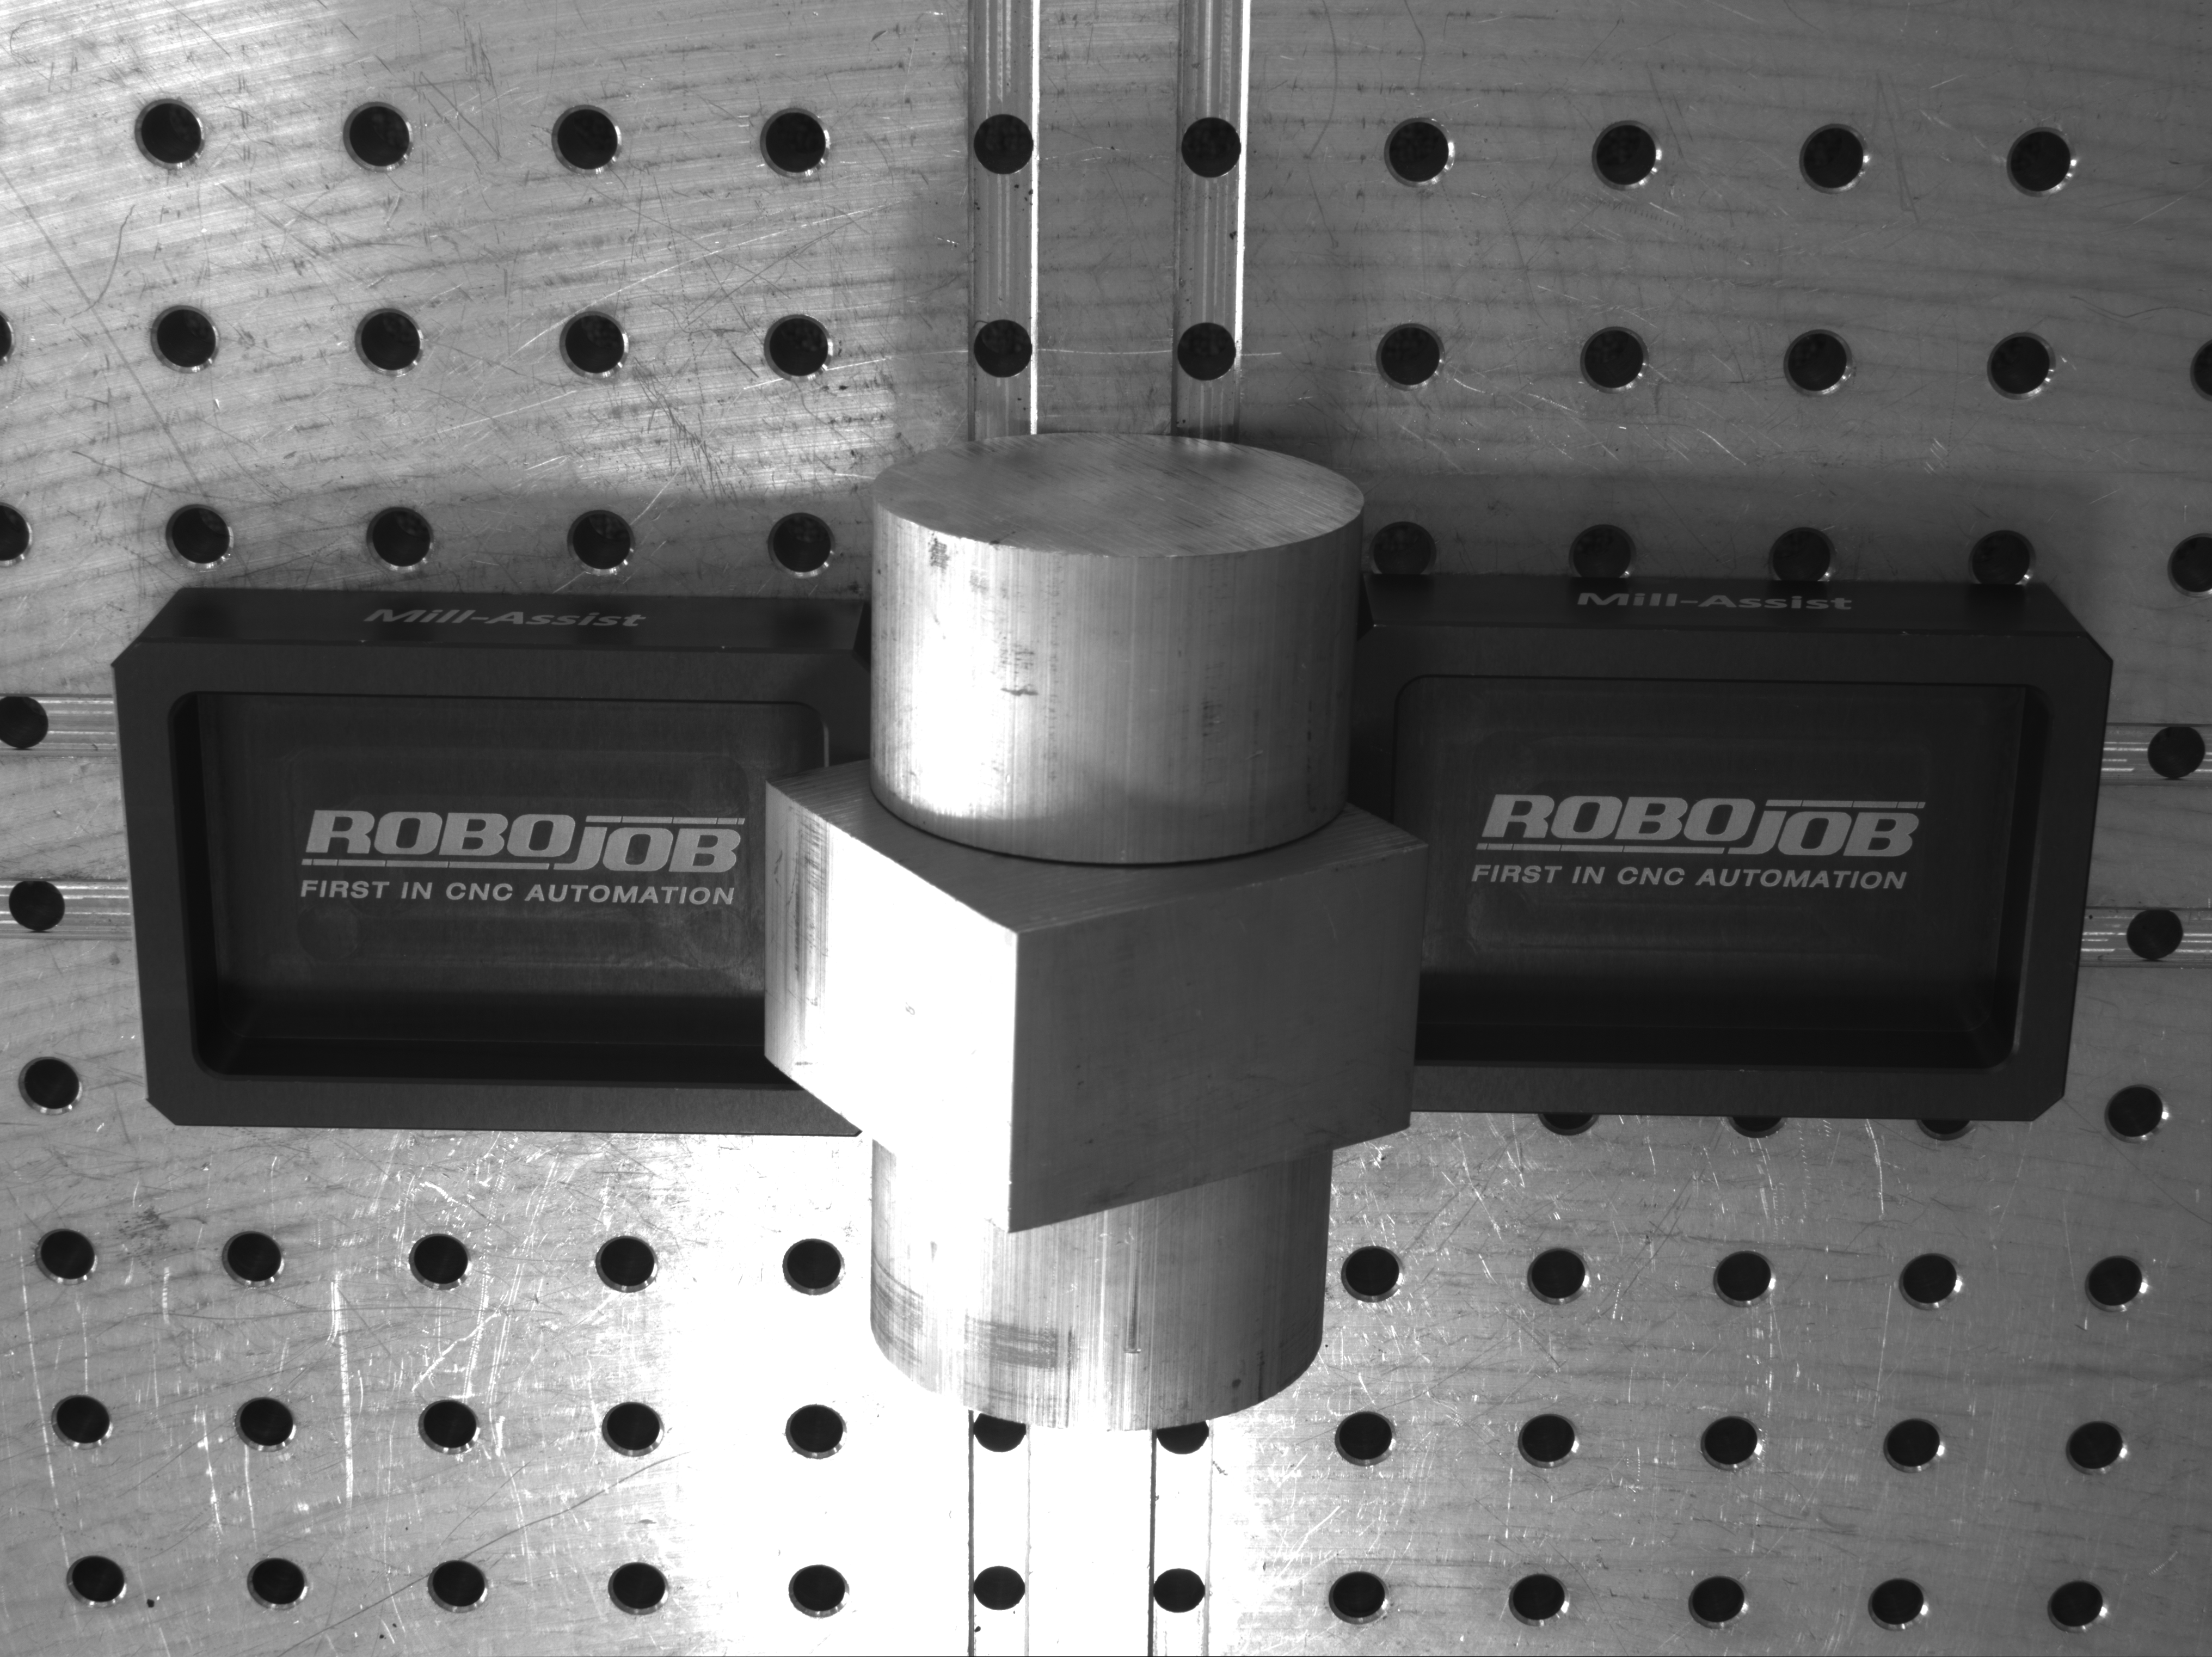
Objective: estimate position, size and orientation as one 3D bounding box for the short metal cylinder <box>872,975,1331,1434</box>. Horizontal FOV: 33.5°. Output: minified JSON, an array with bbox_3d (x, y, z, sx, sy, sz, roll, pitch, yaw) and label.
[{"bbox_3d":[-0.001,0.063,0.640,0.080,0.080,0.050,2,110,0],"label":"short metal cylinder"}]

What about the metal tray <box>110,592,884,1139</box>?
[{"bbox_3d":[-0.103,0.007,0.646,0.130,0.030,0.090,1,110,0],"label":"metal tray"}]

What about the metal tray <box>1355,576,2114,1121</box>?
[{"bbox_3d":[0.104,0.004,0.645,0.130,0.030,0.090,1,110,0],"label":"metal tray"}]

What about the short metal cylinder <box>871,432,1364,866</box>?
[{"bbox_3d":[0.001,-0.031,0.606,0.080,0.080,0.050,1,110,0],"label":"short metal cylinder"}]

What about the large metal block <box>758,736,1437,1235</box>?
[{"bbox_3d":[-0.003,0.021,0.610,0.080,0.080,0.050,-11,113,-33],"label":"large metal block"}]
